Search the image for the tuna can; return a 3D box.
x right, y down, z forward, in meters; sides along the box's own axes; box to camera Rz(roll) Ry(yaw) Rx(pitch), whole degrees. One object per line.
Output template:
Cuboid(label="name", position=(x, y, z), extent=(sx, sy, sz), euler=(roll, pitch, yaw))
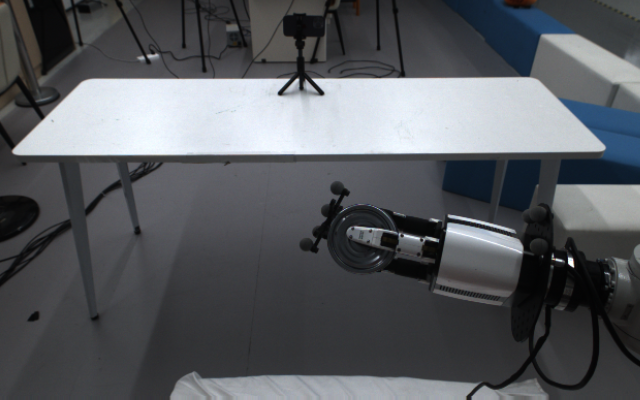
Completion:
Cuboid(label="tuna can", position=(0.055, 0.046, 0.588), extent=(0.085, 0.085, 0.034), euler=(9, -5, 10))
